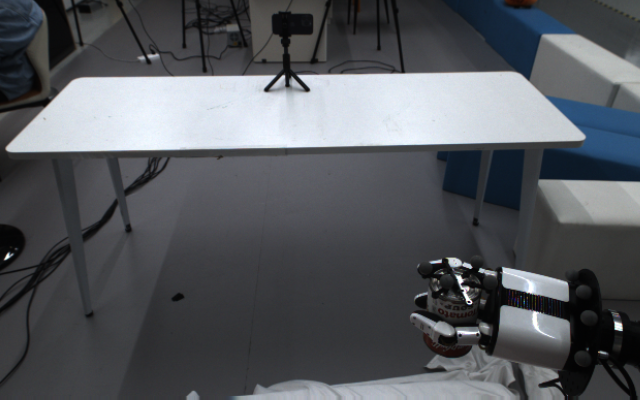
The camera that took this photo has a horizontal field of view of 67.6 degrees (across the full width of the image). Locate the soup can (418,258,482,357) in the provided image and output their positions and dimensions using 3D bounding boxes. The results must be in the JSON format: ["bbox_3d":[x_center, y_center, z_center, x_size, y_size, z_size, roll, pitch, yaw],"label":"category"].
[{"bbox_3d":[0.177,0.149,0.646,0.067,0.101,0.067,-2,32,1],"label":"soup can"}]
